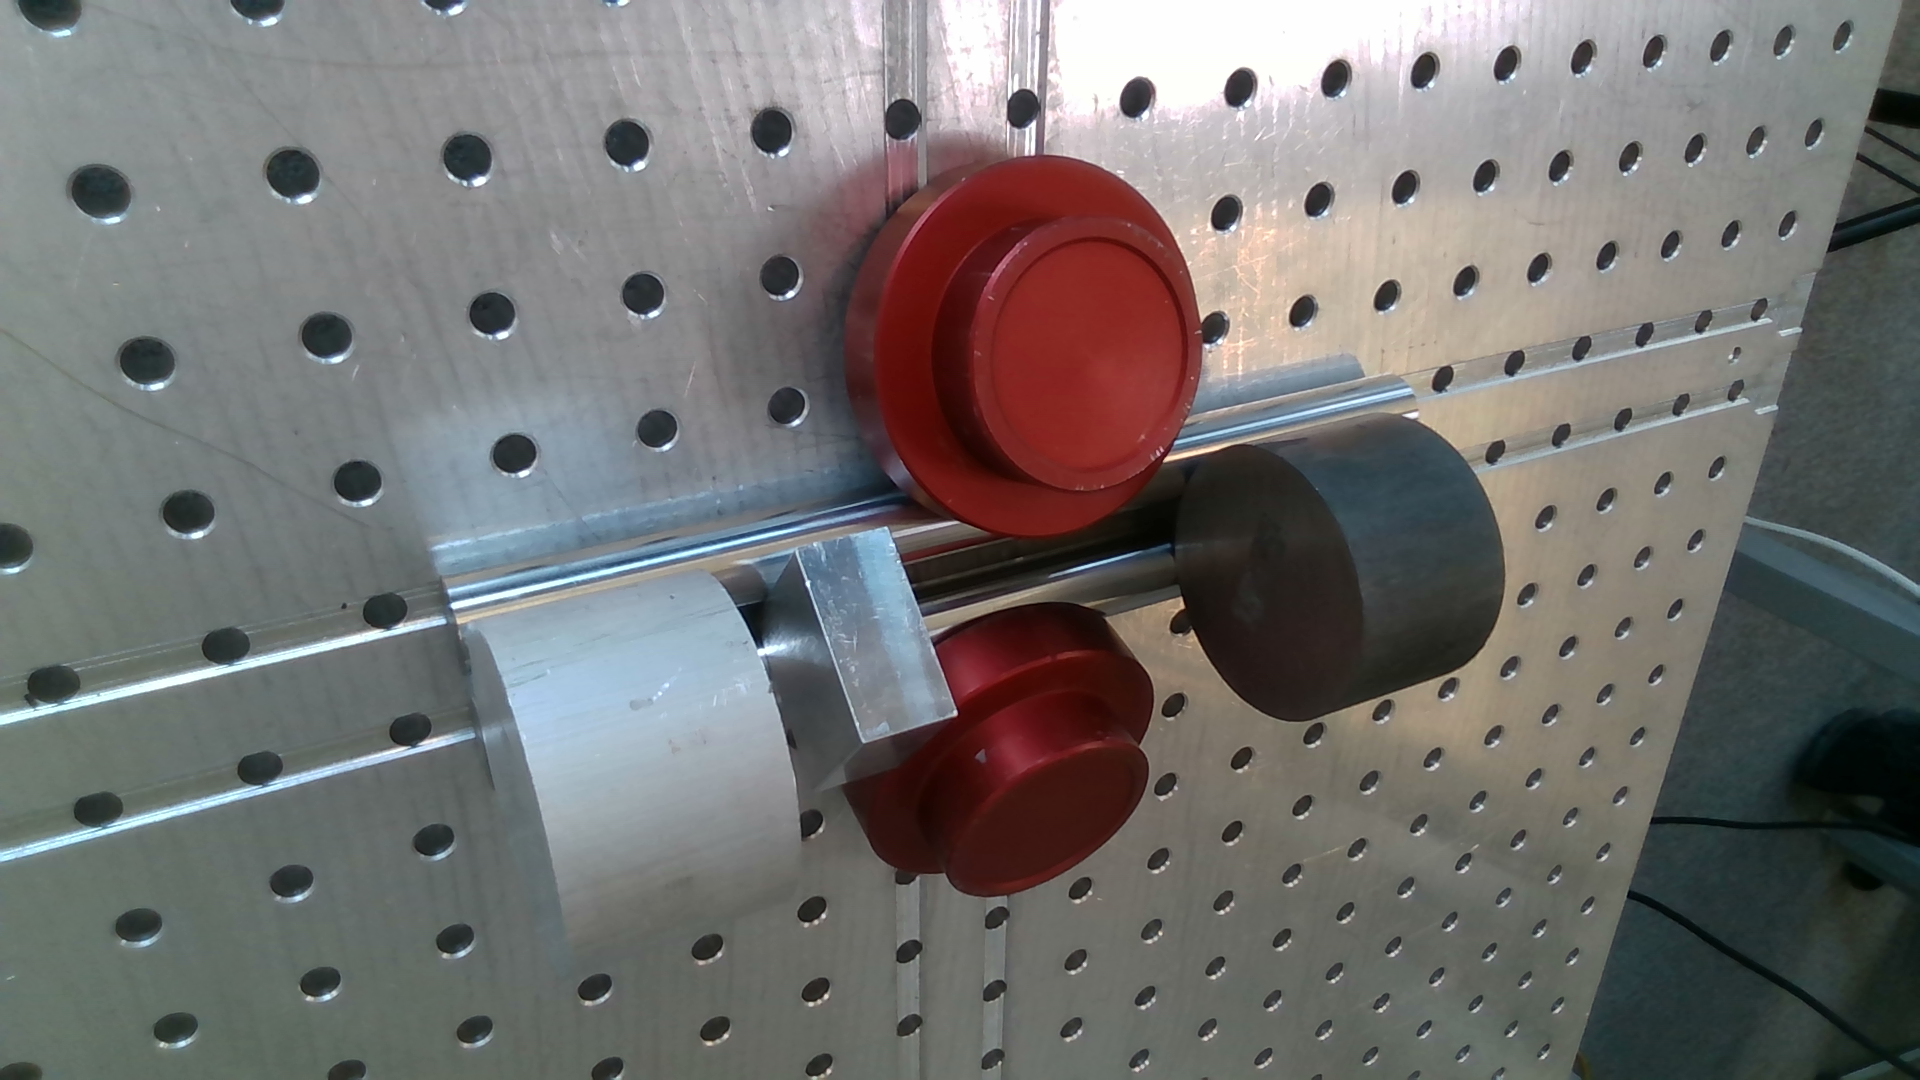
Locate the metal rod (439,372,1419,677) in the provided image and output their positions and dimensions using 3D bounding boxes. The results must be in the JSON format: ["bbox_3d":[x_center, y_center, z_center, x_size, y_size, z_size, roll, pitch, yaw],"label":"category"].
[{"bbox_3d":[0.011,-0.011,0.392,0.300,0.025,0.025,-14,121,-25],"label":"metal rod"}]

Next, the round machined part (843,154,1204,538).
[{"bbox_3d":[0.023,-0.049,0.354,0.098,0.042,0.098,-6,104,-27],"label":"round machined part"}]

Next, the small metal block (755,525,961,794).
[{"bbox_3d":[-0.028,0.031,0.346,0.025,0.050,0.050,-14,163,-26],"label":"small metal block"}]

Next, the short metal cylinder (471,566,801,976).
[{"bbox_3d":[-0.075,0.050,0.311,0.050,0.080,0.080,-14,121,-25],"label":"short metal cylinder"}]

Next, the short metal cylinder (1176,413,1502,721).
[{"bbox_3d":[0.107,0.007,0.398,0.050,0.080,0.080,-14,121,-25],"label":"short metal cylinder"}]

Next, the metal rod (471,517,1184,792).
[{"bbox_3d":[0.012,0.019,0.410,0.300,0.025,0.025,-14,121,-25],"label":"metal rod"}]

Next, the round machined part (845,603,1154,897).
[{"bbox_3d":[0.017,0.069,0.413,0.098,0.042,0.098,-20,139,-19],"label":"round machined part"}]
